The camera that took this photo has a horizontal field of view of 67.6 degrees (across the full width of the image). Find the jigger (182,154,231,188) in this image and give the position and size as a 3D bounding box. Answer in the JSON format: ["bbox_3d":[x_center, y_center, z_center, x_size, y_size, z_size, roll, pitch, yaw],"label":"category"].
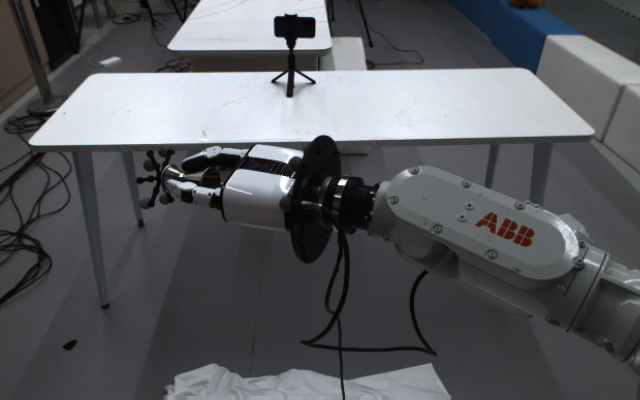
[{"bbox_3d":[-0.171,-0.029,0.659,0.071,0.043,0.043,6,34,22],"label":"jigger"}]
